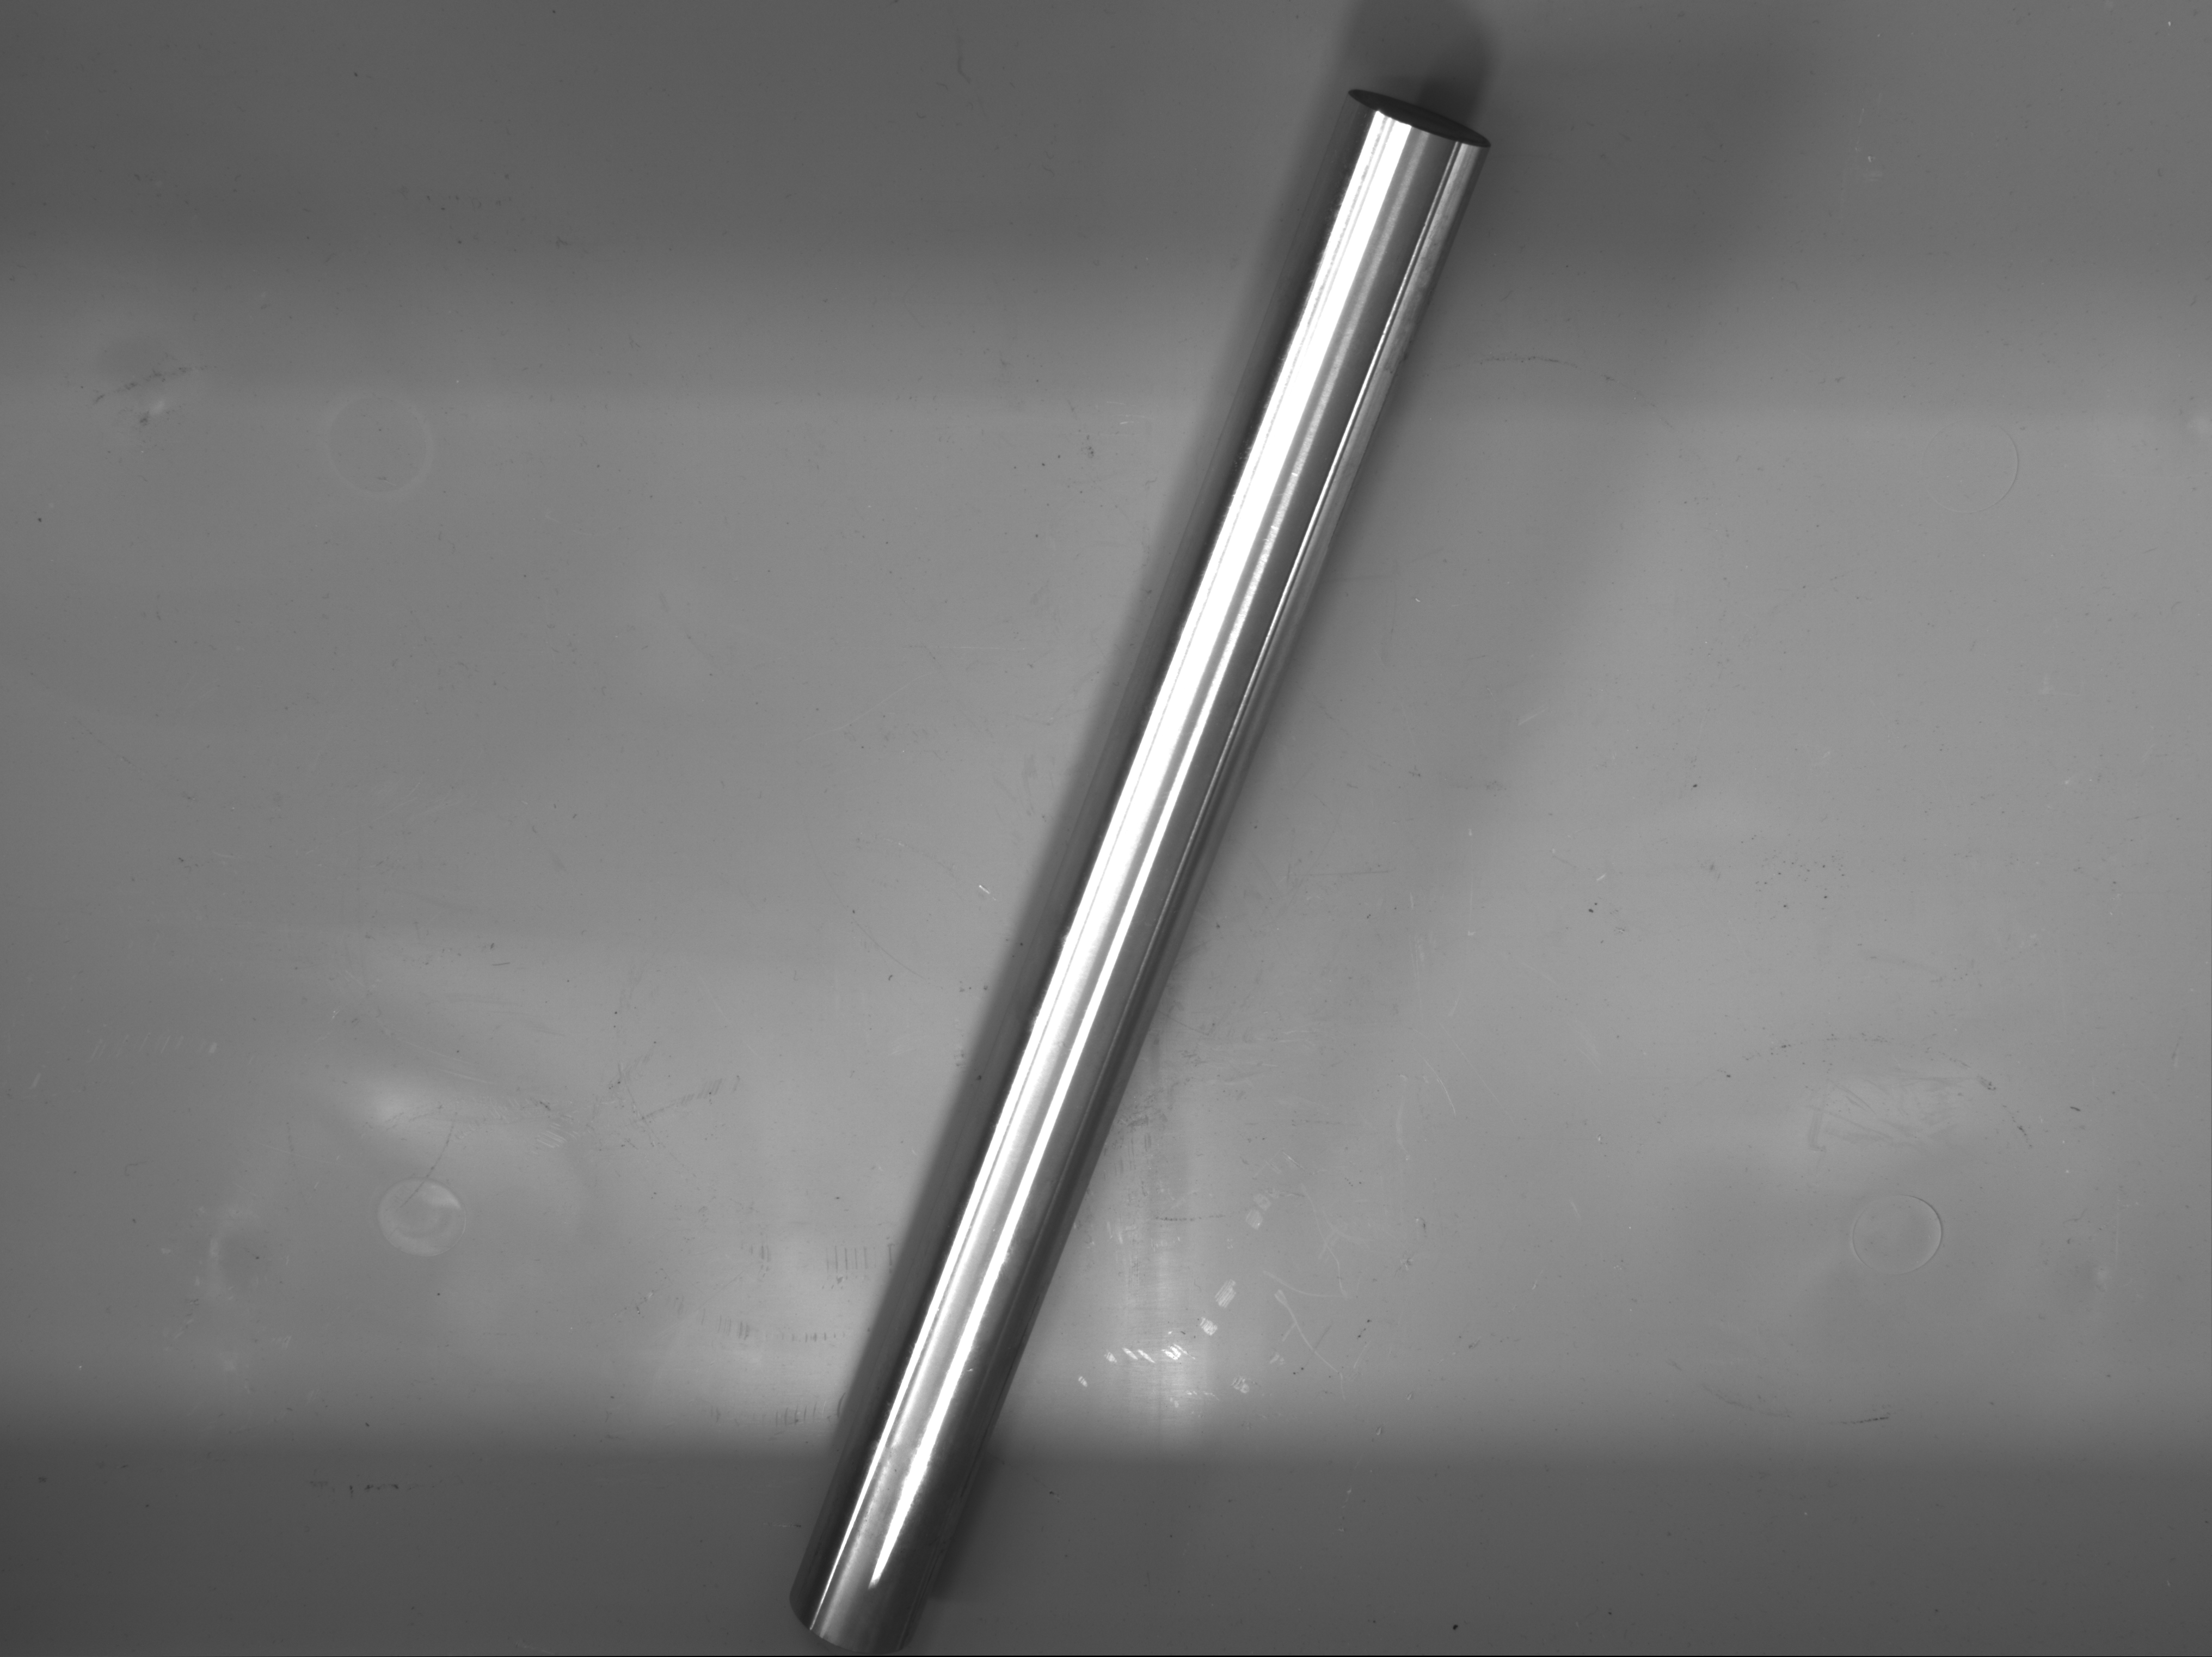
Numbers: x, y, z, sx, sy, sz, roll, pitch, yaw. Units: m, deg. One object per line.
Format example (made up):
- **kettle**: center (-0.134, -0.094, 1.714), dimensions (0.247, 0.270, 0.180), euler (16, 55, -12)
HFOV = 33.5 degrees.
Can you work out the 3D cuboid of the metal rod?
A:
- **metal rod**: center (0.000, 0.017, 0.648), dimensions (0.025, 0.025, 0.300), euler (18, 109, -6)
